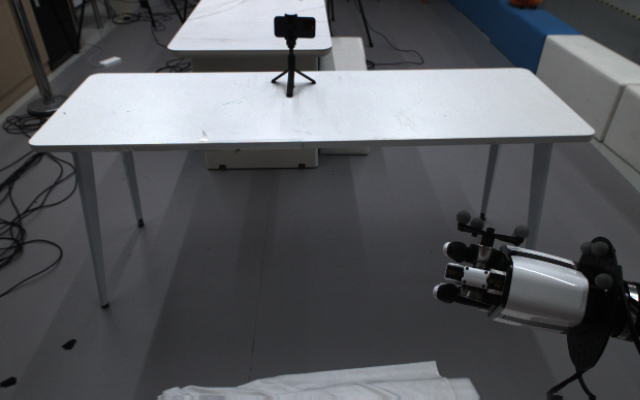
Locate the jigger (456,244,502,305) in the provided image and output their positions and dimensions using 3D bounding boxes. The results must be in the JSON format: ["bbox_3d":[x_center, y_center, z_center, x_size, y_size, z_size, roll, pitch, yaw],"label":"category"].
[{"bbox_3d":[0.204,0.092,0.610,0.043,0.071,0.043,16,-7,2],"label":"jigger"}]
